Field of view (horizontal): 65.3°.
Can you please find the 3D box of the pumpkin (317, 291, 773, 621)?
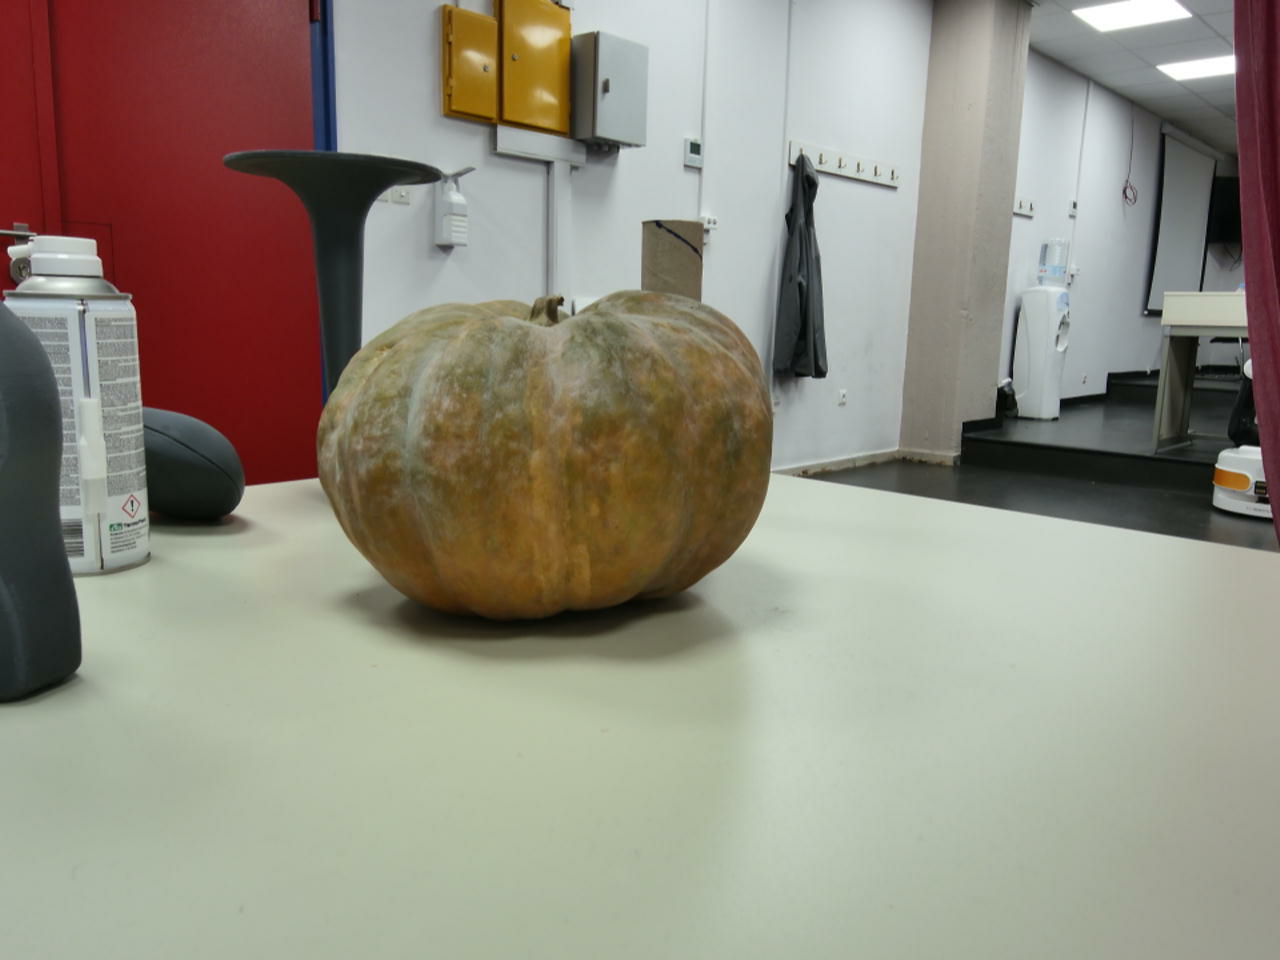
[{"bbox_3d":[-0.049,-0.019,0.549,0.252,0.168,0.252,1,8,0],"label":"pumpkin"}]
